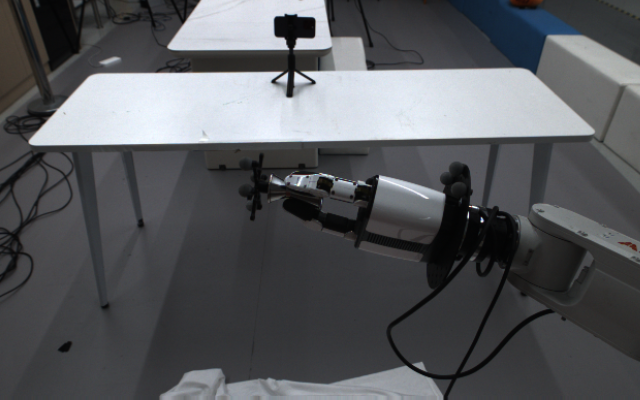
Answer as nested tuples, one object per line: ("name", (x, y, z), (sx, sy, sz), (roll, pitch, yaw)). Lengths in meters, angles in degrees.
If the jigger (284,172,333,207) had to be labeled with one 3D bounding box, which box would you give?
("jigger", (-0.023, -0.016, 0.622), (0.071, 0.043, 0.043), (5, 35, 2))
